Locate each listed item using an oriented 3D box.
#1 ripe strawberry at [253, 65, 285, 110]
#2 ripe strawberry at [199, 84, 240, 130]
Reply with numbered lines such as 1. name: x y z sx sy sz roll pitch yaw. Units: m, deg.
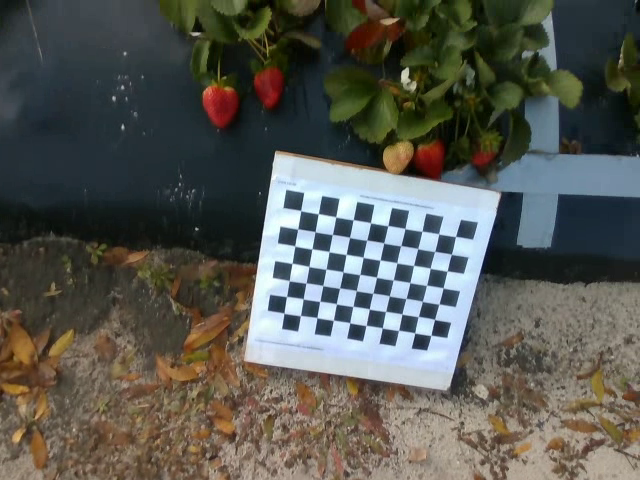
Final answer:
1. ripe strawberry: -0.068 -0.186 0.634 0.042 0.053 0.034 -6 -20 3
2. ripe strawberry: -0.129 -0.160 0.631 0.050 0.061 0.045 -1 -23 2
